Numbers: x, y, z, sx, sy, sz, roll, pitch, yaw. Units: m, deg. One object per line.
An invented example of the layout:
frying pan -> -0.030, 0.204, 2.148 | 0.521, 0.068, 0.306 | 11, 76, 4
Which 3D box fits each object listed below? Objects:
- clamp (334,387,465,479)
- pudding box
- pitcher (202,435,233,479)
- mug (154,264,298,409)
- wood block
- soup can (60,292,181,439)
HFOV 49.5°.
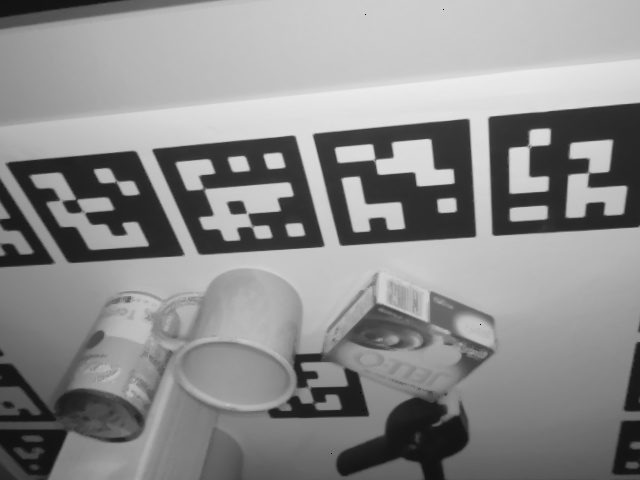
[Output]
clamp -> 0.092, 0.195, 0.680 | 0.122, 0.037, 0.163 | 21, 130, -2
pudding box -> 0.078, 0.076, 0.572 | 0.114, 0.039, 0.088 | 23, 126, -14
pitcher -> -0.163, 0.307, 0.659 | 0.188, 0.245, 0.132 | -8, 131, 10
mug -> -0.072, 0.070, 0.550 | 0.118, 0.082, 0.092 | 21, 132, -13
wood block -> -0.163, 0.204, 0.590 | 0.089, 0.208, 0.090 | -6, 130, 17
soup can -> -0.160, 0.101, 0.571 | 0.068, 0.103, 0.067 | 3, 128, 5
